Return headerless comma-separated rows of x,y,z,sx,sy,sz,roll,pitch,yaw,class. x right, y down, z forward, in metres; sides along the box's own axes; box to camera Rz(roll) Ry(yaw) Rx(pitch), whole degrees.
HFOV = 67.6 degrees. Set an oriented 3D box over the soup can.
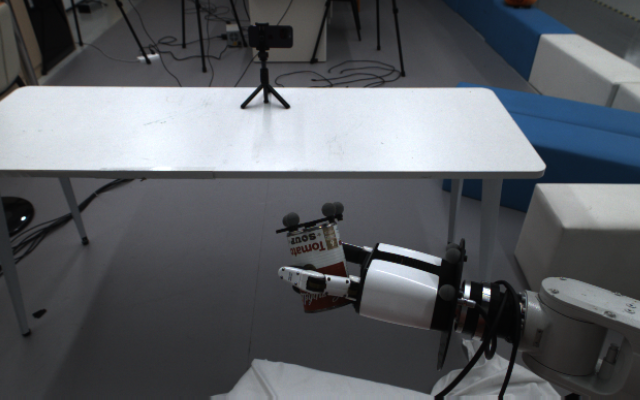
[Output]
0.003,0.084,0.612,0.067,0.101,0.067,-14,-2,-1,soup can
